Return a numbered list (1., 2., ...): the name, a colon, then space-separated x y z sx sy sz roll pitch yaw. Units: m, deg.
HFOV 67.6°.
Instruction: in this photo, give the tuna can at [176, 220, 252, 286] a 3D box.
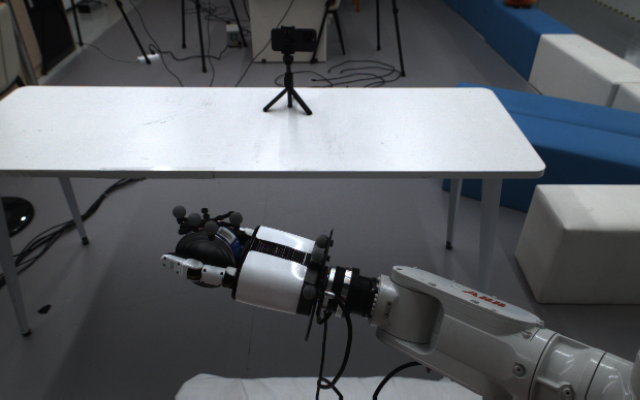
1. tuna can: -0.148 0.075 0.657 0.085 0.085 0.034 9 22 9
